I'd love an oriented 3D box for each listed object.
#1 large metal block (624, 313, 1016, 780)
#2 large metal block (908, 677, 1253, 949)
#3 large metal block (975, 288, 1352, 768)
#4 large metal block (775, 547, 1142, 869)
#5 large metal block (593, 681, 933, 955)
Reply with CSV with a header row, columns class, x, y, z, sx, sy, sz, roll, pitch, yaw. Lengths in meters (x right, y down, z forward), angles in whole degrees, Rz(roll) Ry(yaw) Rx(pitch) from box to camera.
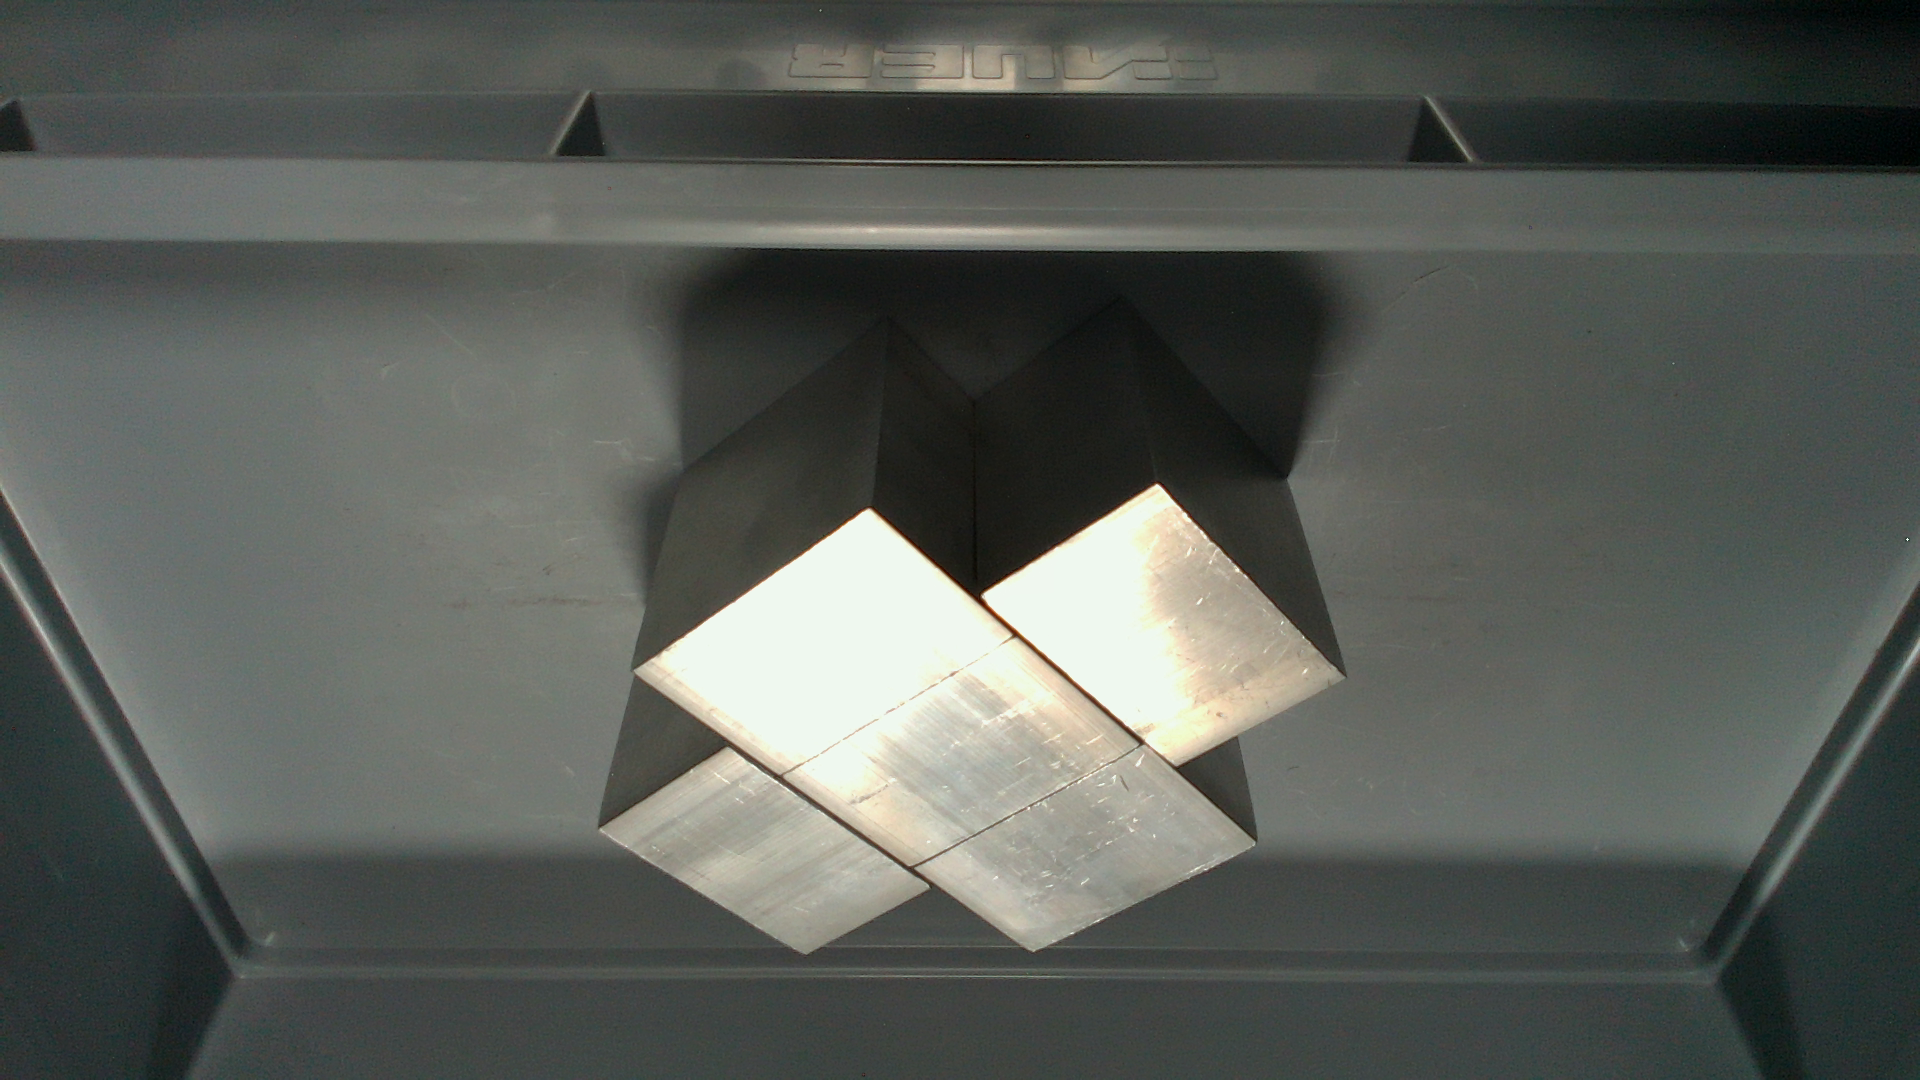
class,x,y,z,sx,sy,sz,roll,pitch,yaw
large metal block,-0.033,0.001,0.354,0.080,0.080,0.050,-33,123,25
large metal block,0.032,0.060,0.405,0.080,0.080,0.050,-33,123,25
large metal block,0.049,-0.003,0.352,0.050,0.080,0.080,-33,123,25
large metal block,-0.001,0.030,0.380,0.080,0.080,0.050,-33,123,25
large metal block,-0.052,0.061,0.405,0.050,0.080,0.080,-33,123,25
